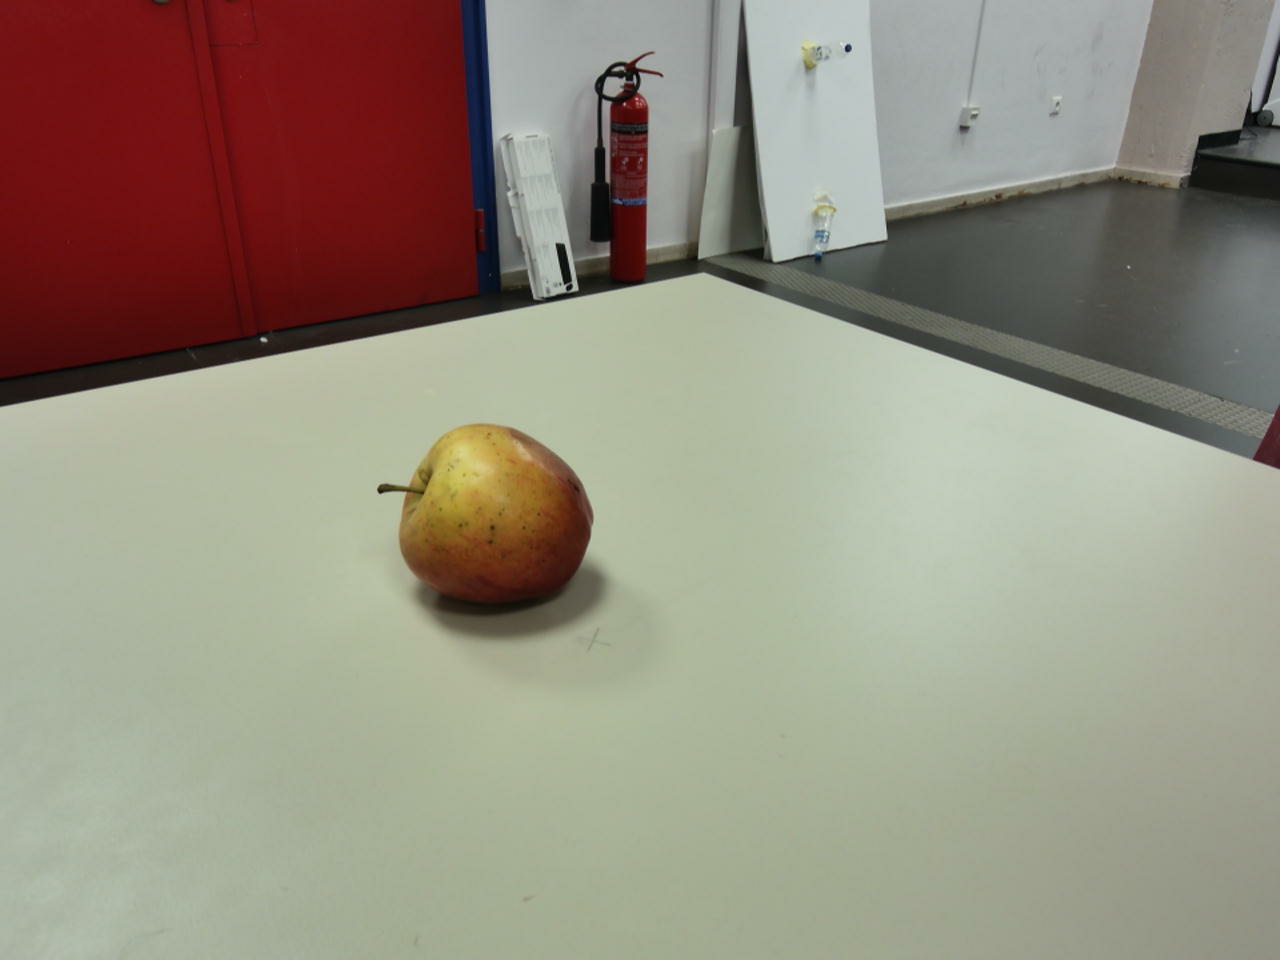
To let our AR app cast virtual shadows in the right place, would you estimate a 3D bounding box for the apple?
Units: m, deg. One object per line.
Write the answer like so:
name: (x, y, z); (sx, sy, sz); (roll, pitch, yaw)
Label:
apple: (-0.070, 0.016, 0.475); (0.093, 0.084, 0.086); (9, 26, 15)
